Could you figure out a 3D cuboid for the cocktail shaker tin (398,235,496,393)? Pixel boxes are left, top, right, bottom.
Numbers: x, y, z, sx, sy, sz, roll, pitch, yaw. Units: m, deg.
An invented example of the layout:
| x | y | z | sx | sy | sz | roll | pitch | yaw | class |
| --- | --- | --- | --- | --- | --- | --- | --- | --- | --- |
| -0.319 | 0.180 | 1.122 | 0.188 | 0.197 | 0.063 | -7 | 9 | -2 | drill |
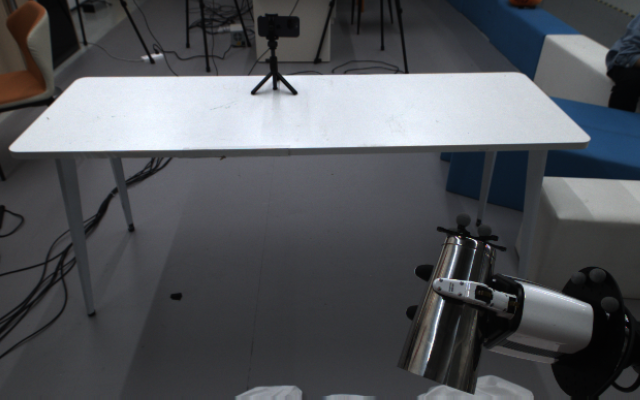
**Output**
| x | y | z | sx | sy | sz | roll | pitch | yaw | class |
| --- | --- | --- | --- | --- | --- | --- | --- | --- | --- |
| 0.164 | 0.134 | 0.591 | 0.093 | 0.093 | 0.170 | 15 | 75 | 18 | cocktail shaker tin |
